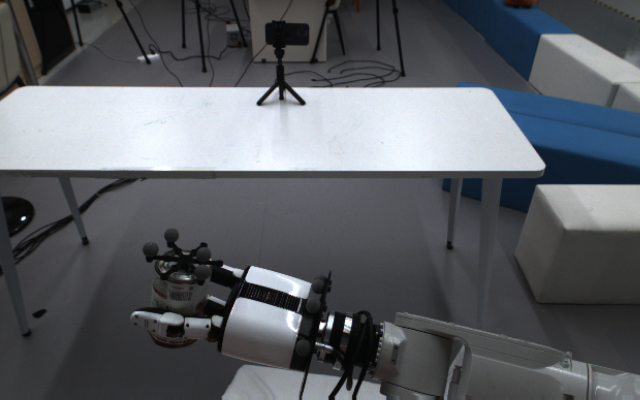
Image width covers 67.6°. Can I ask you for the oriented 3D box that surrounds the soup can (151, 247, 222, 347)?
[{"bbox_3d":[-0.170,0.122,0.592,0.067,0.101,0.067,12,24,-6],"label":"soup can"}]
